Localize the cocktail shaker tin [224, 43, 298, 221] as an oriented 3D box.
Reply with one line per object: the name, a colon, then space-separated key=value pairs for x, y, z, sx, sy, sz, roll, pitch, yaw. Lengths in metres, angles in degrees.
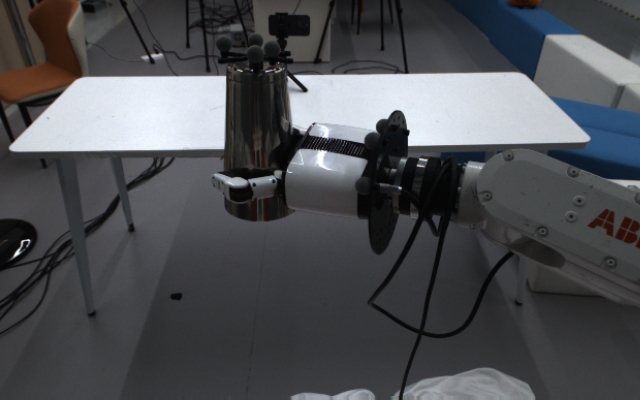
cocktail shaker tin: x=-0.069 y=-0.070 z=0.565 sx=0.093 sy=0.170 sz=0.093 roll=1 pitch=28 yaw=-1
